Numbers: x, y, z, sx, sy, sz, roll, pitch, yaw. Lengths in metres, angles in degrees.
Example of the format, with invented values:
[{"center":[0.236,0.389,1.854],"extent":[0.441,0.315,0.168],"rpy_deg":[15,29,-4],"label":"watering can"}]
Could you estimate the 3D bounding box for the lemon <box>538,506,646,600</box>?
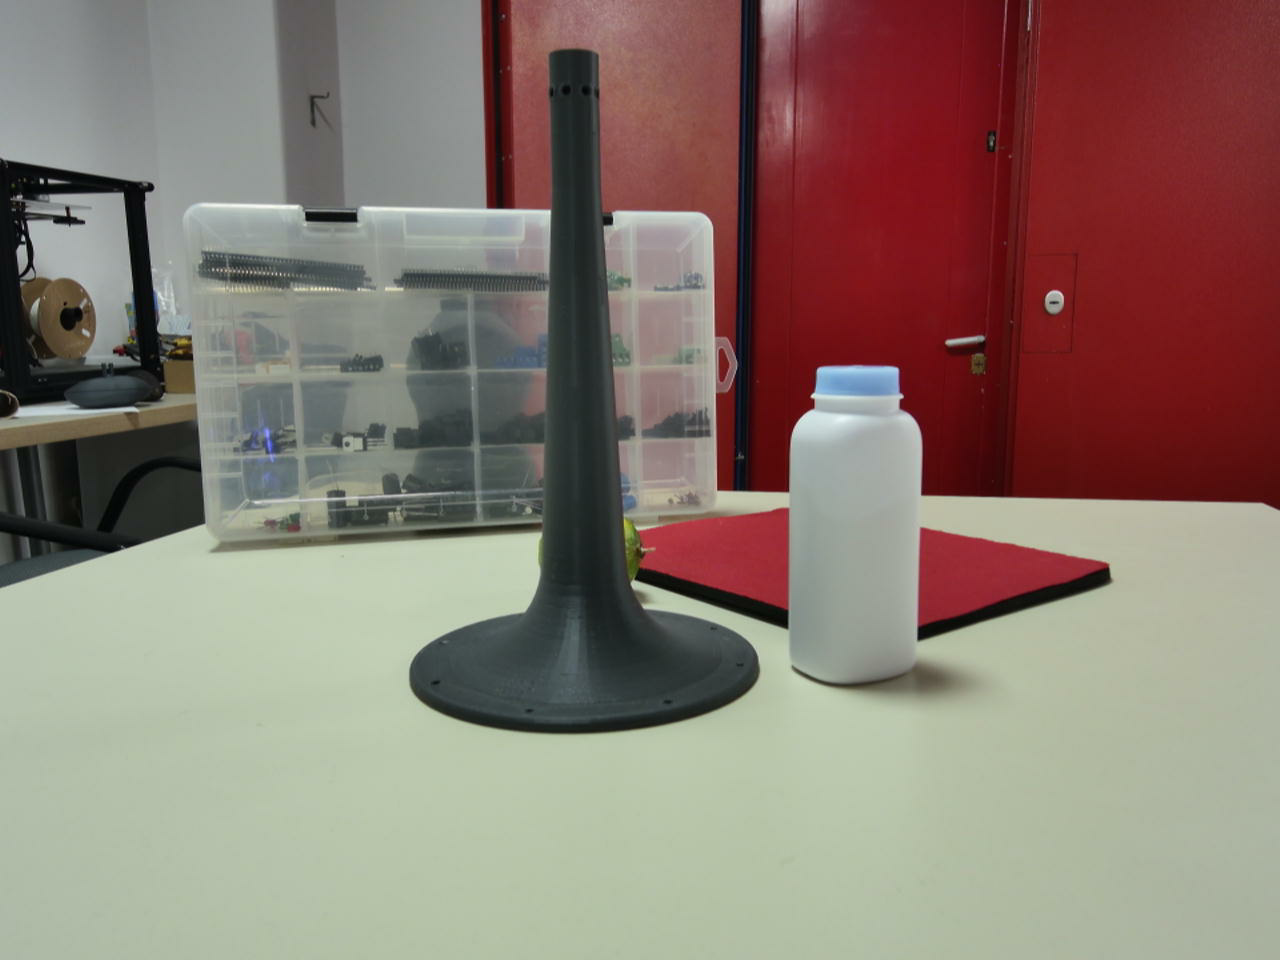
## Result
[{"center":[-0.027,0.039,0.548],"extent":[0.054,0.050,0.055],"rpy_deg":[-4,7,-28],"label":"lemon"}]
